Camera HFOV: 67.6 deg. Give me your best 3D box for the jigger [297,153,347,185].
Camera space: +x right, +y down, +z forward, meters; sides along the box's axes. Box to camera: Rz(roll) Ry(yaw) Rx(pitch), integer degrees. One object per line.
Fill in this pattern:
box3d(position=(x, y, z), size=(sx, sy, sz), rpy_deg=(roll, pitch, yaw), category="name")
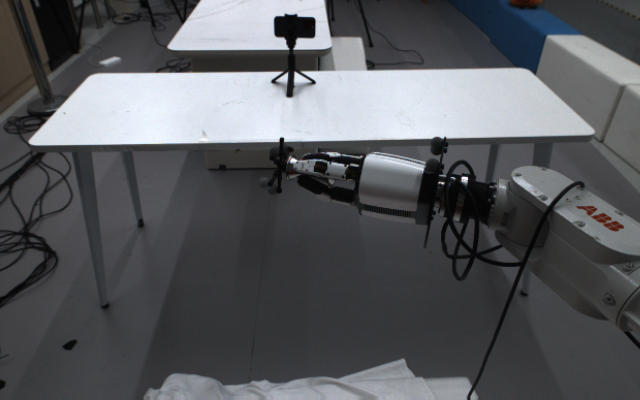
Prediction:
box3d(position=(-0.007, -0.048, 0.730), size=(0.071, 0.043, 0.043), rpy_deg=(10, 35, 16), category="jigger")
